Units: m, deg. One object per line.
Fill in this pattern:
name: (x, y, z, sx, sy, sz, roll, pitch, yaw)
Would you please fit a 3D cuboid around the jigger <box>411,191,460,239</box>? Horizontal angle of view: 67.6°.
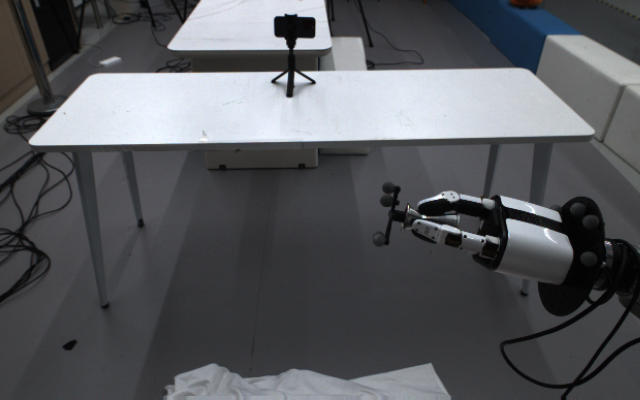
jigger: (0.152, 0.027, 0.642, 0.071, 0.043, 0.043, 12, 36, 5)
